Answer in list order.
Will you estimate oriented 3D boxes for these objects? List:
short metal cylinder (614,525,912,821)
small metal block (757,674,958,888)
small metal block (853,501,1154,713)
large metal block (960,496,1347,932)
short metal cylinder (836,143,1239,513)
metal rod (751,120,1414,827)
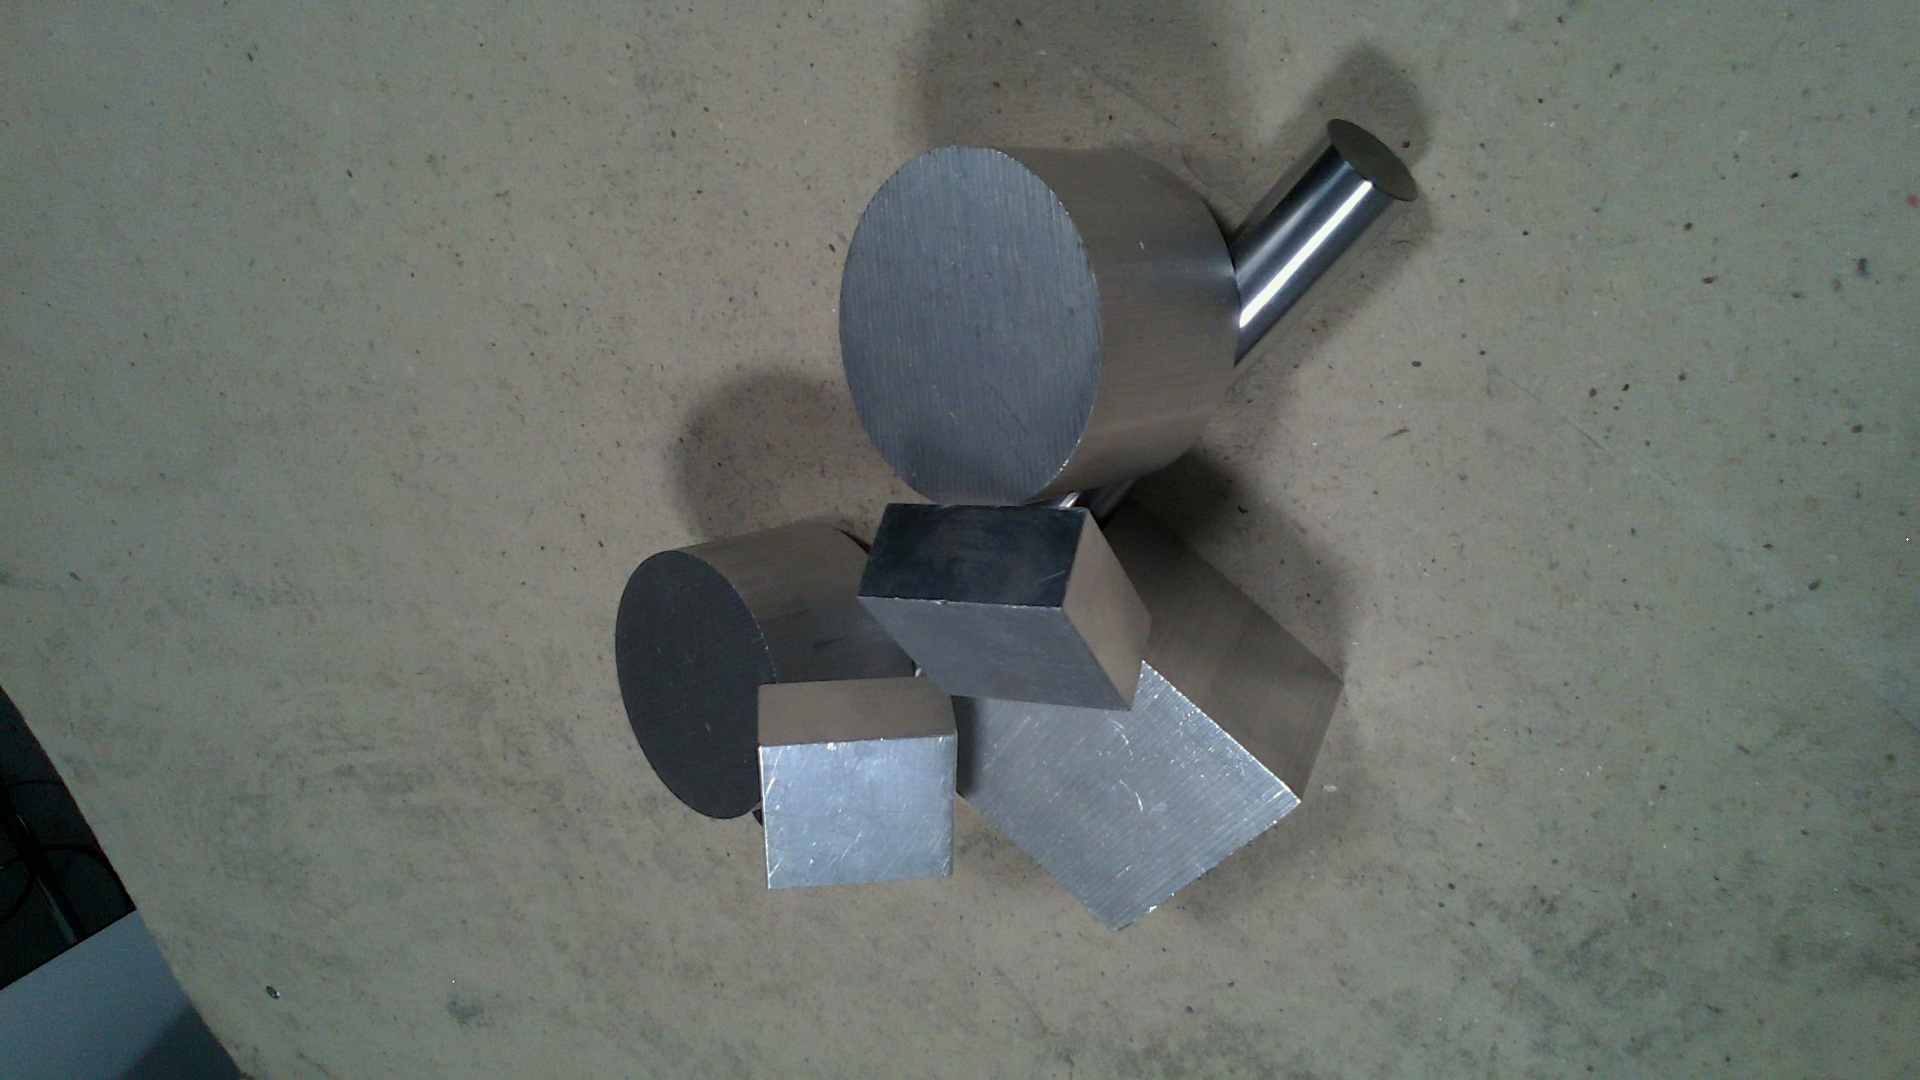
[{"bbox_3d":[-0.060,0.038,0.415,0.080,0.050,0.080,12,108,42],"label":"short metal cylinder"},{"bbox_3d":[-0.027,0.064,0.367,0.050,0.025,0.050,-3,123,-7],"label":"small metal block"},{"bbox_3d":[0.012,0.015,0.316,0.050,0.025,0.050,2,150,27],"label":"small metal block"},{"bbox_3d":[0.045,0.049,0.381,0.080,0.050,0.080,41,129,0],"label":"large metal block"},{"bbox_3d":[0.017,-0.049,0.318,0.080,0.050,0.080,12,108,42],"label":"short metal cylinder"},{"bbox_3d":[0.012,0.006,0.390,0.025,0.025,0.299,41,129,0],"label":"metal rod"}]
